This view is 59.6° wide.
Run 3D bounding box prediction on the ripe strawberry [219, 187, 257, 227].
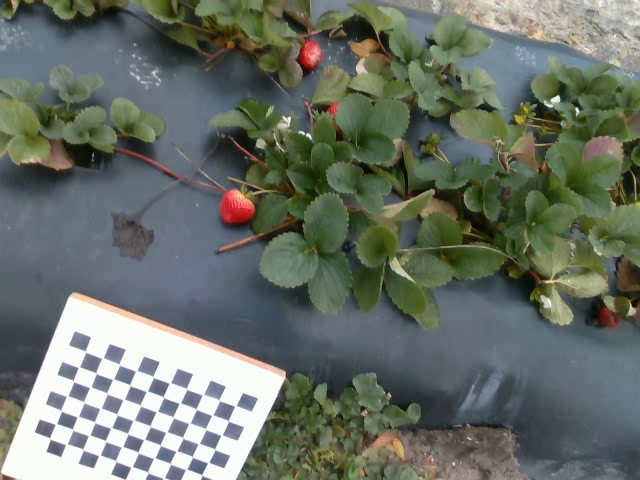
[{"bbox_3d":[-0.140,-0.054,0.890,0.061,0.065,0.050,33,4,-13],"label":"ripe strawberry"}]
